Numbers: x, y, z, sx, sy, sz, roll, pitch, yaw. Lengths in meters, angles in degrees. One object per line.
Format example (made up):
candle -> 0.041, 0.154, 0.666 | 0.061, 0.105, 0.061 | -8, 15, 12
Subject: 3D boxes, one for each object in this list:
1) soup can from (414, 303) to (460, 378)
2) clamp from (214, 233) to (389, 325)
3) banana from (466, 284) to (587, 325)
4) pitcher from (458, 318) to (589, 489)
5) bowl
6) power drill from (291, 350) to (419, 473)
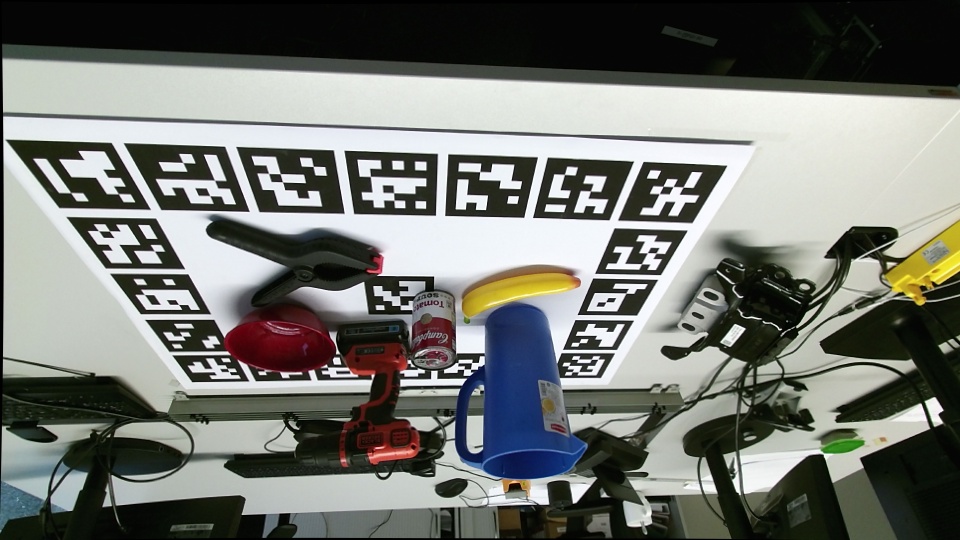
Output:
soup can -> -0.066, 0.109, 0.809 | 0.068, 0.101, 0.068 | -3, 149, -2
clamp -> -0.225, 0.014, 0.715 | 0.203, 0.036, 0.165 | -1, 137, -4
banana -> 0.060, 0.052, 0.805 | 0.198, 0.038, 0.074 | -15, 148, 15
pitcher -> 0.054, 0.203, 0.825 | 0.189, 0.241, 0.133 | -15, 143, 12
bowl -> -0.297, 0.117, 0.828 | 0.162, 0.055, 0.162 | -3, 139, -3
power drill -> -0.187, 0.219, 0.831 | 0.185, 0.186, 0.057 | -3, 140, -2
